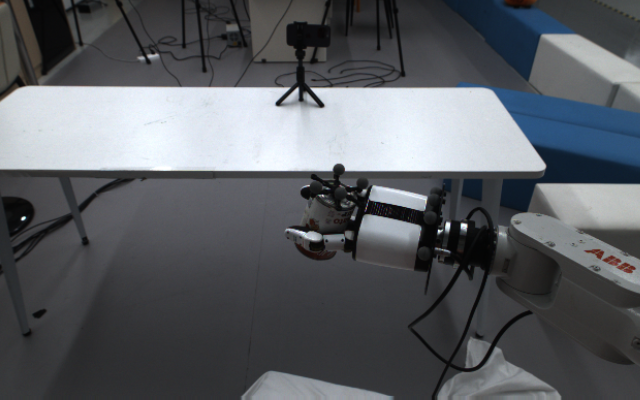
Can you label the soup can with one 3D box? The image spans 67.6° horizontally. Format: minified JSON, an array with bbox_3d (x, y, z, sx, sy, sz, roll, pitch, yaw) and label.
[{"bbox_3d":[0.009,0.030,0.707,0.067,0.101,0.067,14,35,-10],"label":"soup can"}]
